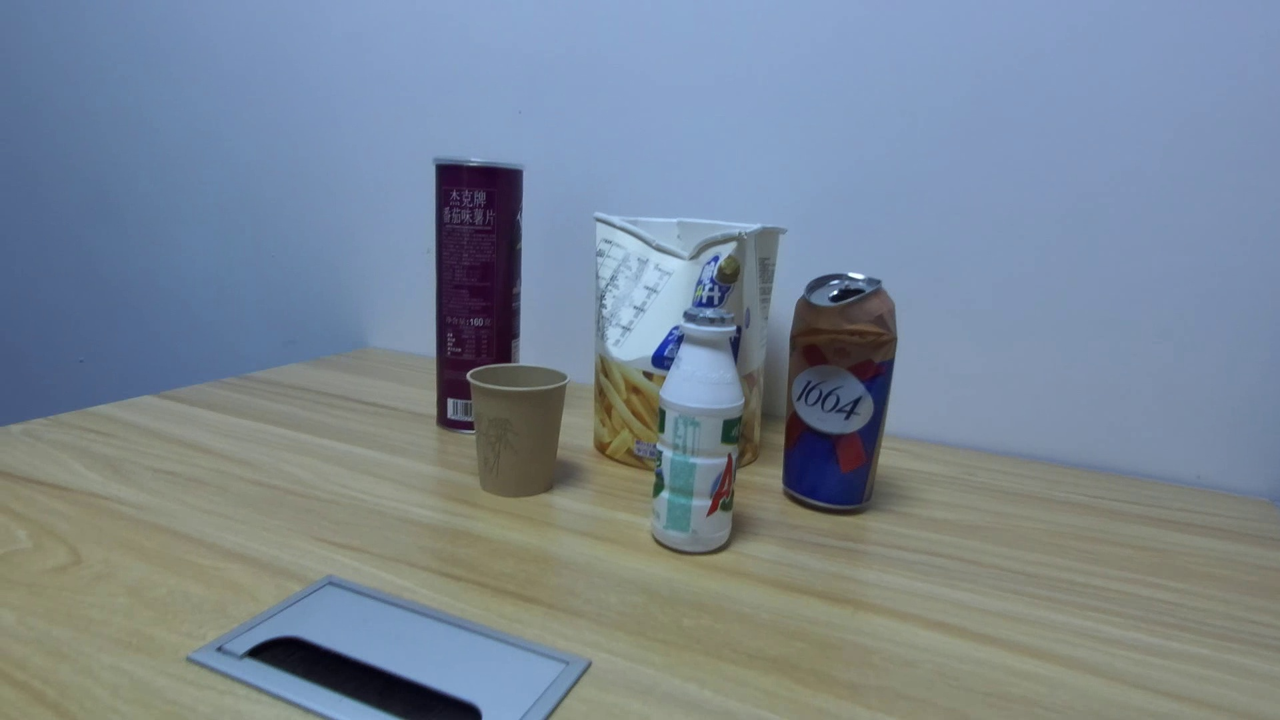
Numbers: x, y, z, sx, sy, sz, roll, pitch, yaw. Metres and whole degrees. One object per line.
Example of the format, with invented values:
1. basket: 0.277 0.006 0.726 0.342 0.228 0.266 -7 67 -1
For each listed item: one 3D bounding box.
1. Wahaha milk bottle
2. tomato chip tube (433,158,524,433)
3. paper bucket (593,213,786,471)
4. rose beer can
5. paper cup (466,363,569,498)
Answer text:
1. Wahaha milk bottle: 0.036 0.043 0.437 0.053 0.147 0.053 3 12 0
2. tomato chip tube: -0.146 -0.057 0.640 0.078 0.233 0.078 4 12 -1
3. paper bucket: 0.030 -0.022 0.617 0.162 0.202 0.169 7 13 21
4. rose beer can: 0.142 0.024 0.509 0.069 0.168 0.070 3 16 9
5. paper cup: -0.090 0.052 0.518 0.075 0.082 0.075 3 13 0
